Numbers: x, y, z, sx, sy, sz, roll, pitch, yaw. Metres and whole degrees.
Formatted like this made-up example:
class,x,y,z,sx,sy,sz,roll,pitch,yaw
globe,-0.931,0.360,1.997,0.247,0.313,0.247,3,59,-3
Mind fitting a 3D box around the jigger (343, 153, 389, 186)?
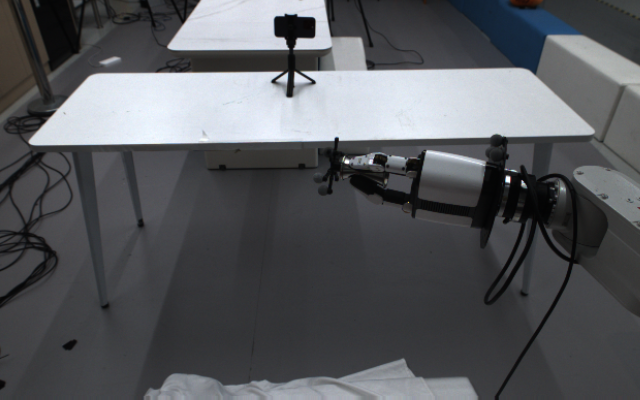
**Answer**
class,x,y,z,sx,sy,sz,roll,pitch,yaw
jigger,0.074,-0.049,0.730,0.071,0.043,0.043,9,35,16
